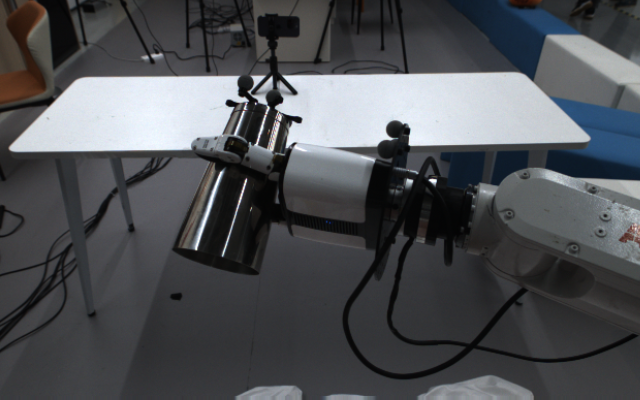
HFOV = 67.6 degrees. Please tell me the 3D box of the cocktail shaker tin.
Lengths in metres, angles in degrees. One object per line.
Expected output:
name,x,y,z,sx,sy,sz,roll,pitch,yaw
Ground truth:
cocktail shaker tin,-0.084,-0.013,0.517,0.093,0.093,0.170,10,71,12
